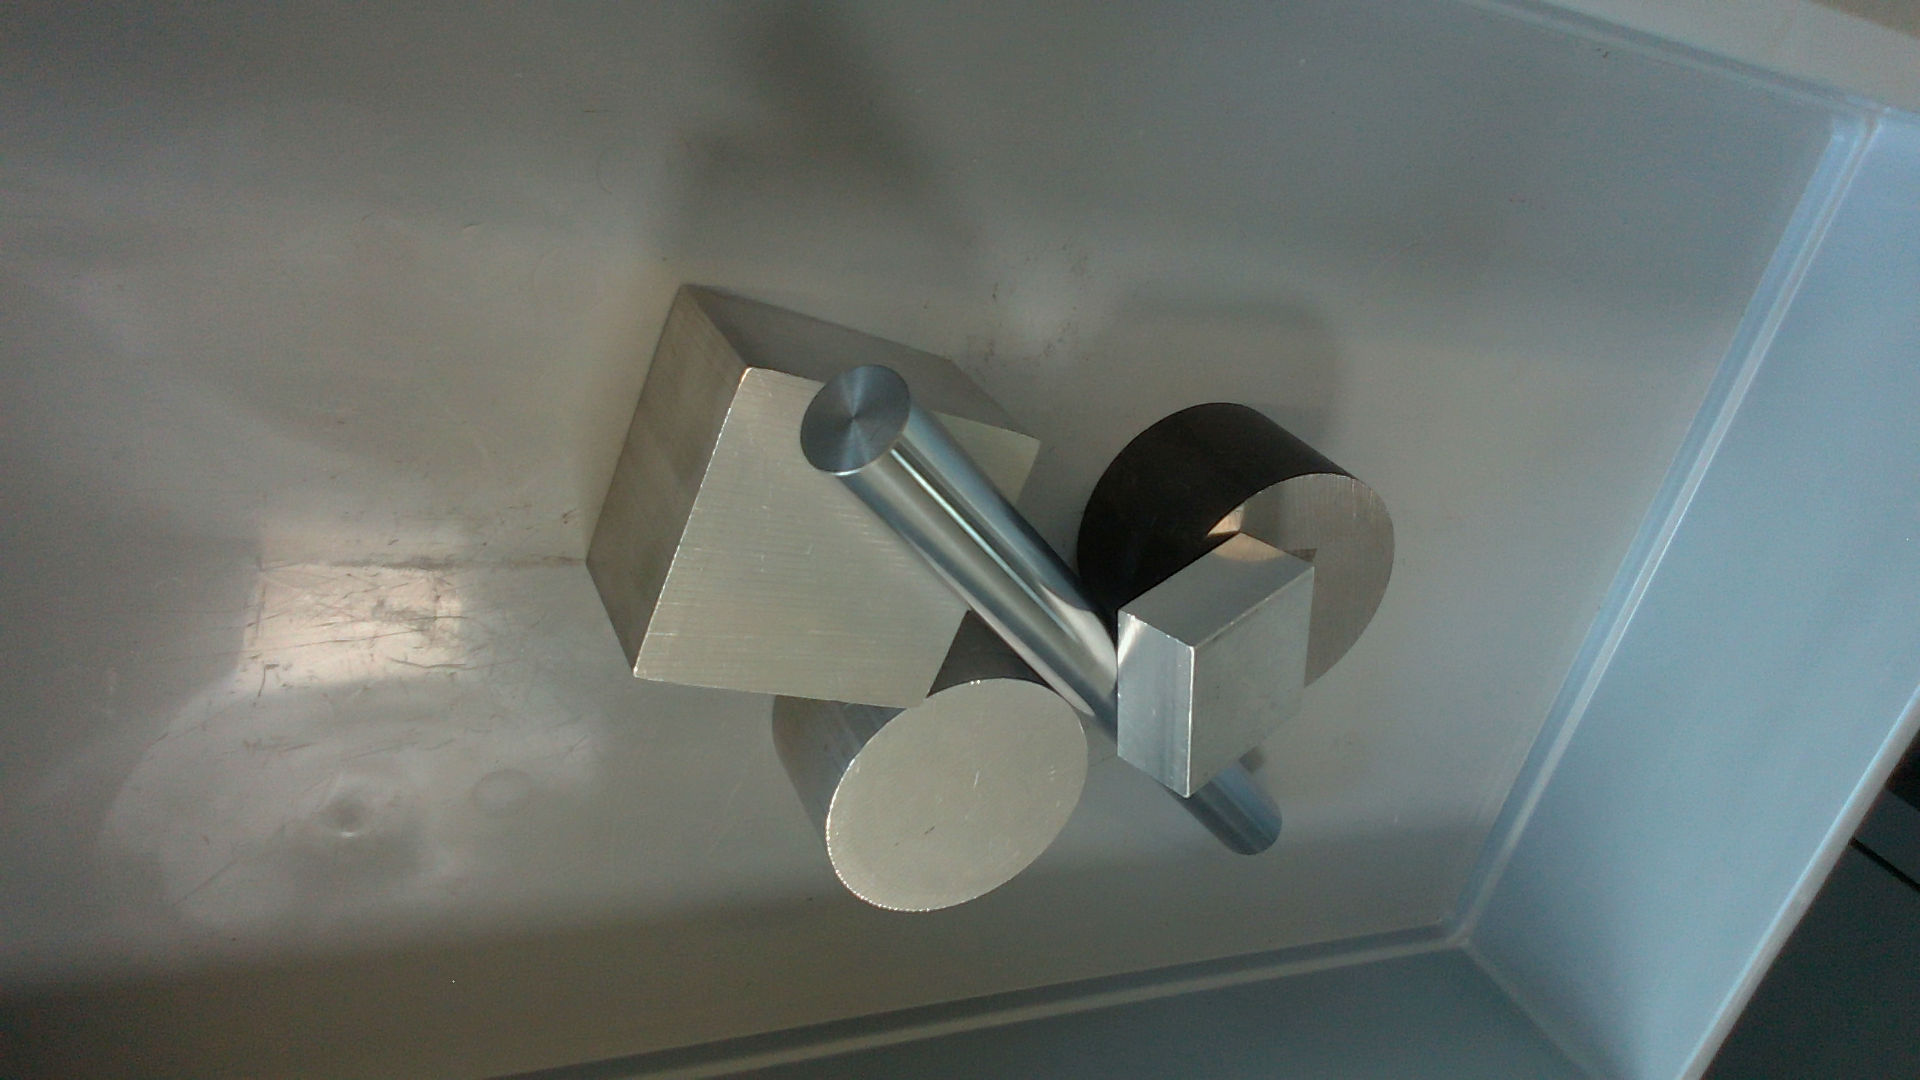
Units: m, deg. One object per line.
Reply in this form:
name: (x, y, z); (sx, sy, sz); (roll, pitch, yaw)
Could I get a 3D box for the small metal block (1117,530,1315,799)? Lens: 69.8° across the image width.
small metal block: (0.069, 0.033, 0.372); (0.050, 0.025, 0.050); (-29, 130, -33)

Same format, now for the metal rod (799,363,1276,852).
metal rod: (0.042, 0.040, 0.390); (0.025, 0.025, 0.301); (-43, 143, 1)

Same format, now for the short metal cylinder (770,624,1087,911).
short metal cylinder: (-0.010, 0.060, 0.403); (0.080, 0.050, 0.080); (-14, 124, -21)

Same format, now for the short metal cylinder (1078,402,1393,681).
short metal cylinder: (0.083, 0.005, 0.420); (0.080, 0.050, 0.080); (-14, 124, -21)

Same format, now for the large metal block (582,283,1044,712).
large metal block: (-0.039, -0.008, 0.343); (0.080, 0.050, 0.080); (11, 113, -33)
